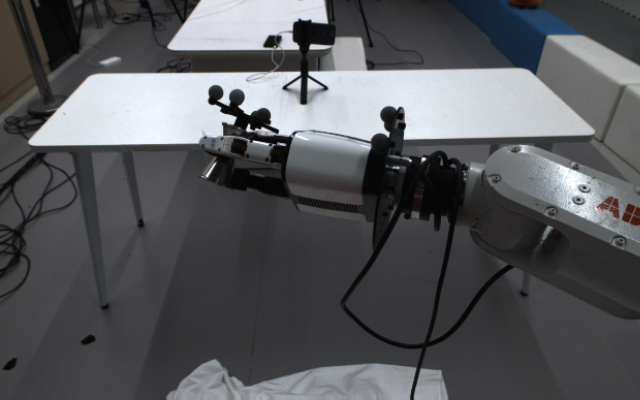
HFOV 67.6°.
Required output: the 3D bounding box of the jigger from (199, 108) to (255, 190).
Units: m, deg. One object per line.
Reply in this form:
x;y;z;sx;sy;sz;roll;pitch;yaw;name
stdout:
-0.108;-0.052;0.558;0.043;0.071;0.043;24;-2;1;jigger
